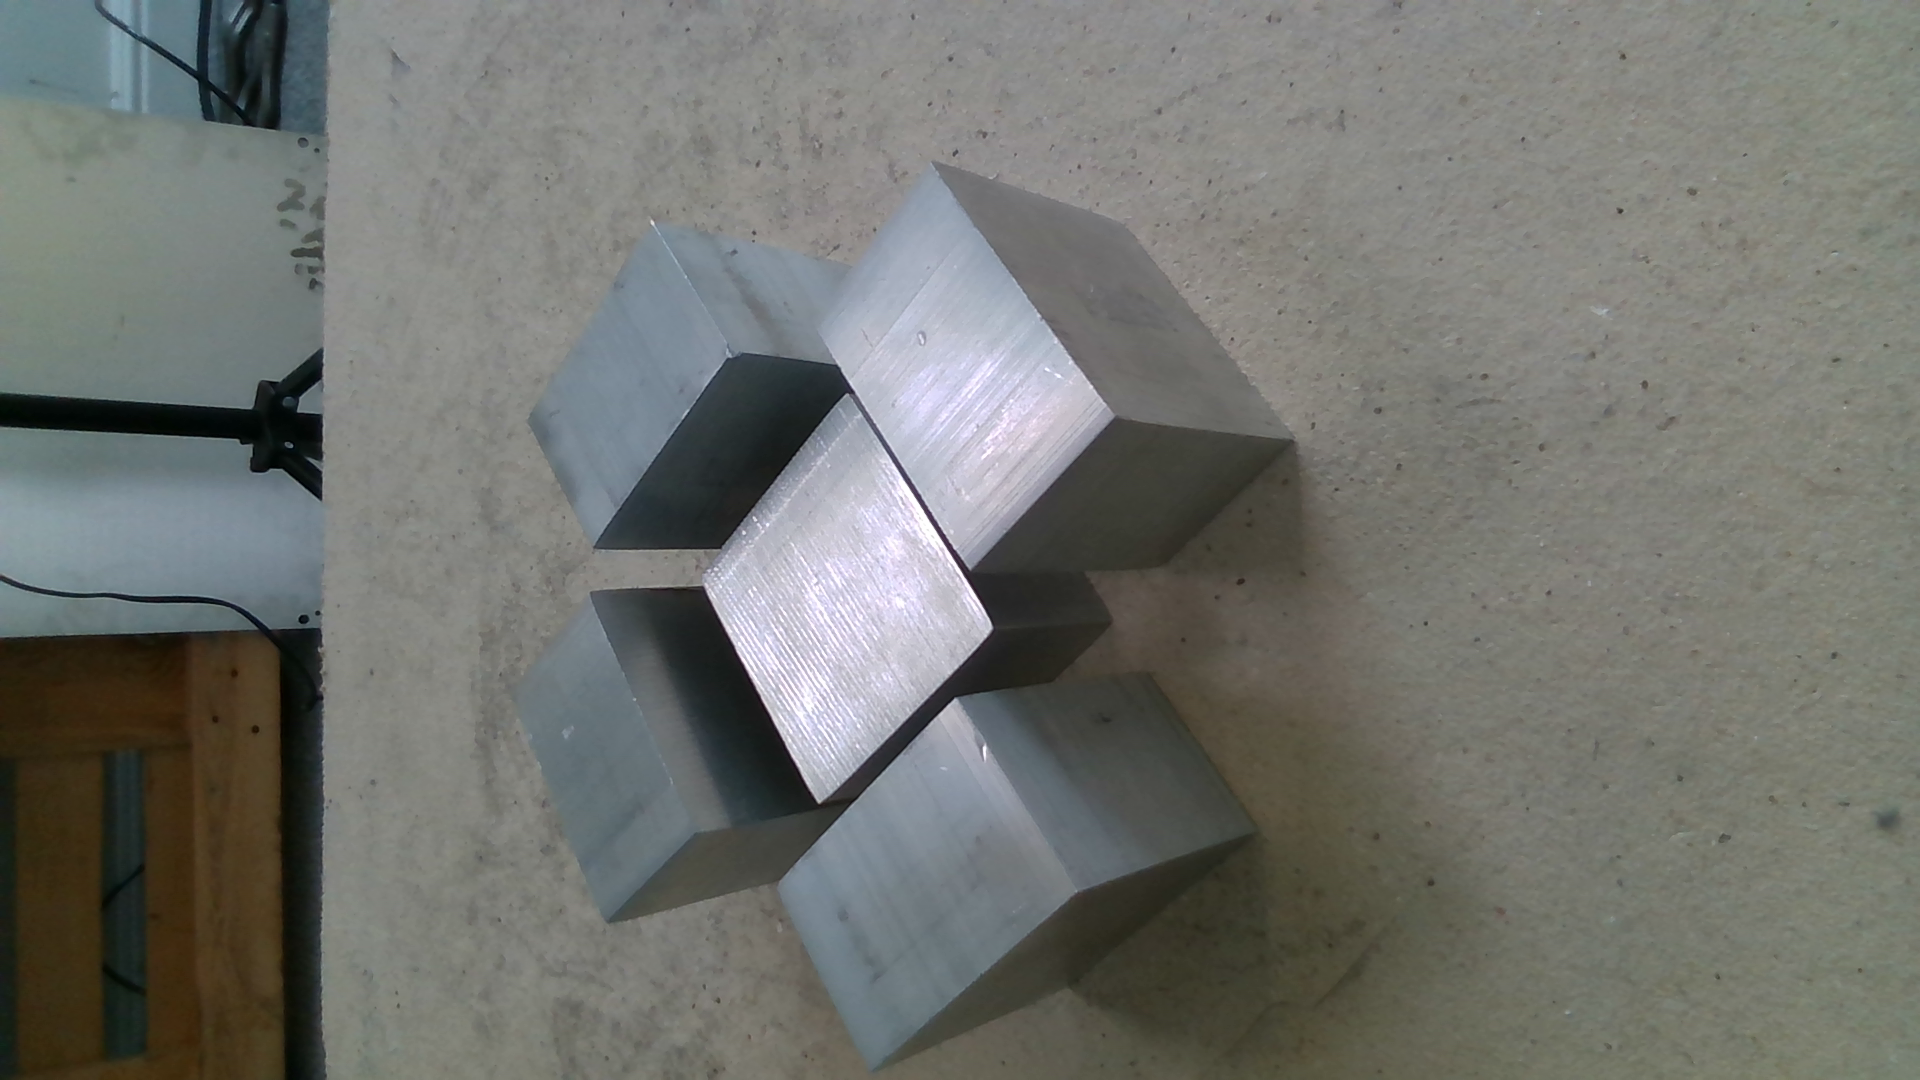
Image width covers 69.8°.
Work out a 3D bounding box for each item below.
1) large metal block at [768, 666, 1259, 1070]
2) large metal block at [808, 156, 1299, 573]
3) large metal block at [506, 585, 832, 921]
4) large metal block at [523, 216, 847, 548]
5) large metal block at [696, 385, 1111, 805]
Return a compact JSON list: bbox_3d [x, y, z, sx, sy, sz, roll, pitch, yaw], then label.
[{"bbox_3d":[0.014,0.079,0.344,0.080,0.080,0.050,-49,62,29],"label":"large metal block"},{"bbox_3d":[0.023,-0.040,0.336,0.050,0.080,0.080,-47,62,30],"label":"large metal block"},{"bbox_3d":[-0.078,0.060,0.421,0.050,0.080,0.080,-45,63,30],"label":"large metal block"},{"bbox_3d":[-0.069,-0.043,0.412,0.080,0.080,0.050,-48,62,30],"label":"large metal block"},{"bbox_3d":[-0.018,0.015,0.387,0.080,0.050,0.080,-47,62,30],"label":"large metal block"}]
